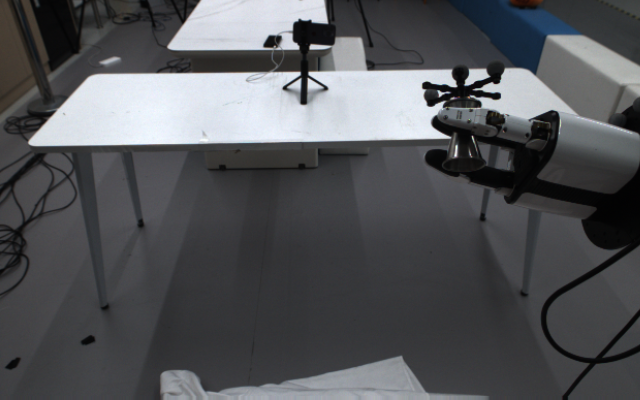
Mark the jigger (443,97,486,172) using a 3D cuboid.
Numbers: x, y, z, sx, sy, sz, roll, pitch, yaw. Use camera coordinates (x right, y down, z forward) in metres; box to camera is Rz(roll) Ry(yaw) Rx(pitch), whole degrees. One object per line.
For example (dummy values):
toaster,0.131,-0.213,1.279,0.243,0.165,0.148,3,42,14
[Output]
jigger,0.150,-0.069,0.513,0.043,0.043,0.071,3,75,1
